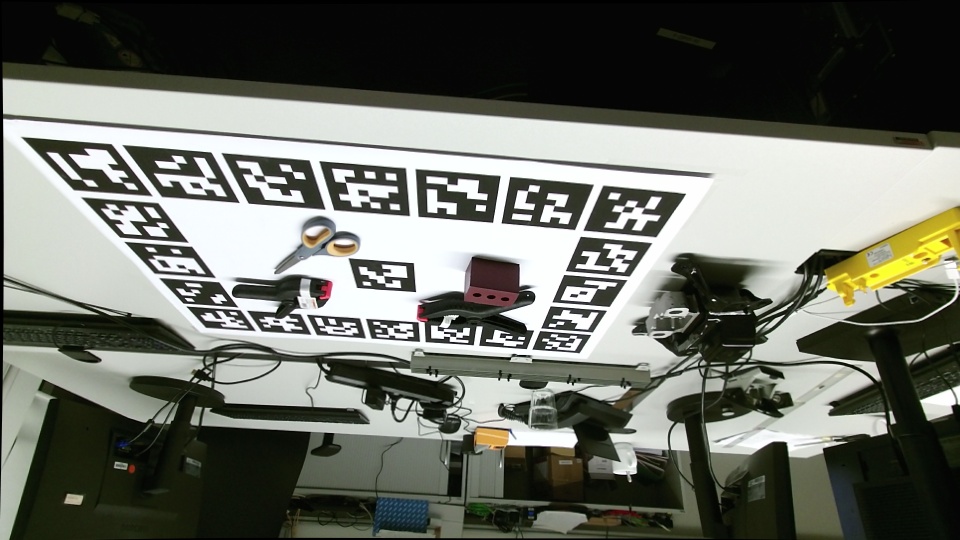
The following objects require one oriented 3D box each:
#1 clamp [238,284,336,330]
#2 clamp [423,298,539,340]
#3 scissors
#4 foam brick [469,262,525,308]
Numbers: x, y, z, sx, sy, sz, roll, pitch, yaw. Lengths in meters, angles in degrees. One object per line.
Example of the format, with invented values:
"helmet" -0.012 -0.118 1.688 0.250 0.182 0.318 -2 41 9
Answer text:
"clamp" -0.326 0.059 0.949 0.165 0.036 0.122 -12 138 21
"clamp" -0.001 0.090 0.966 0.203 0.036 0.165 3 151 2
"scissors" -0.254 -0.015 0.829 0.088 0.016 0.203 35 138 -29
"foam brick" 0.026 0.024 0.848 0.078 0.051 0.053 4 147 -11
